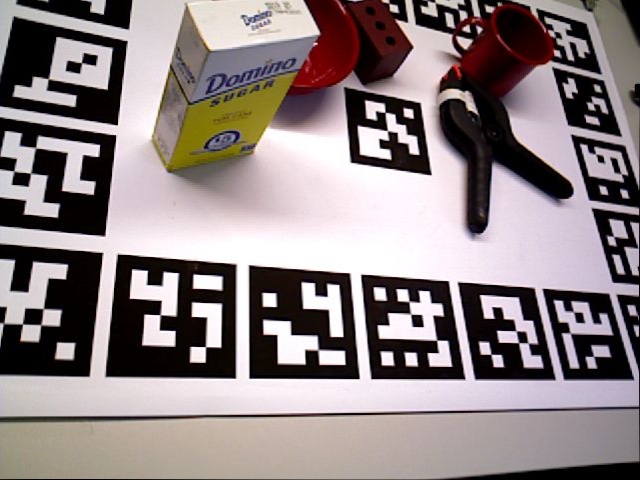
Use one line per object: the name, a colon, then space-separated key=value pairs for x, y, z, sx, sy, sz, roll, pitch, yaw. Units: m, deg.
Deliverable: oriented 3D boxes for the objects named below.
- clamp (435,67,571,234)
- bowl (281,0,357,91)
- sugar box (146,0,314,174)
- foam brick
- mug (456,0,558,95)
clamp: x=0.192 y=-0.120 z=0.637 sx=0.162 sy=0.037 sz=0.202 roll=-20 pitch=79 yaw=-26
bowl: x=-0.045 y=-0.215 z=0.572 sx=0.160 sy=0.056 sz=0.160 roll=9 pitch=66 yaw=-20
sugar box: x=-0.082 y=-0.122 z=0.448 sx=0.091 sy=0.180 sz=0.045 roll=-21 pitch=79 yaw=-30
foam brick: x=0.058 y=-0.226 z=0.629 sx=0.051 sy=0.052 sz=0.078 roll=-24 pitch=80 yaw=-28
mug: x=0.221 y=-0.243 z=0.677 sx=0.117 sy=0.083 sz=0.091 roll=31 pitch=60 yaw=-12
